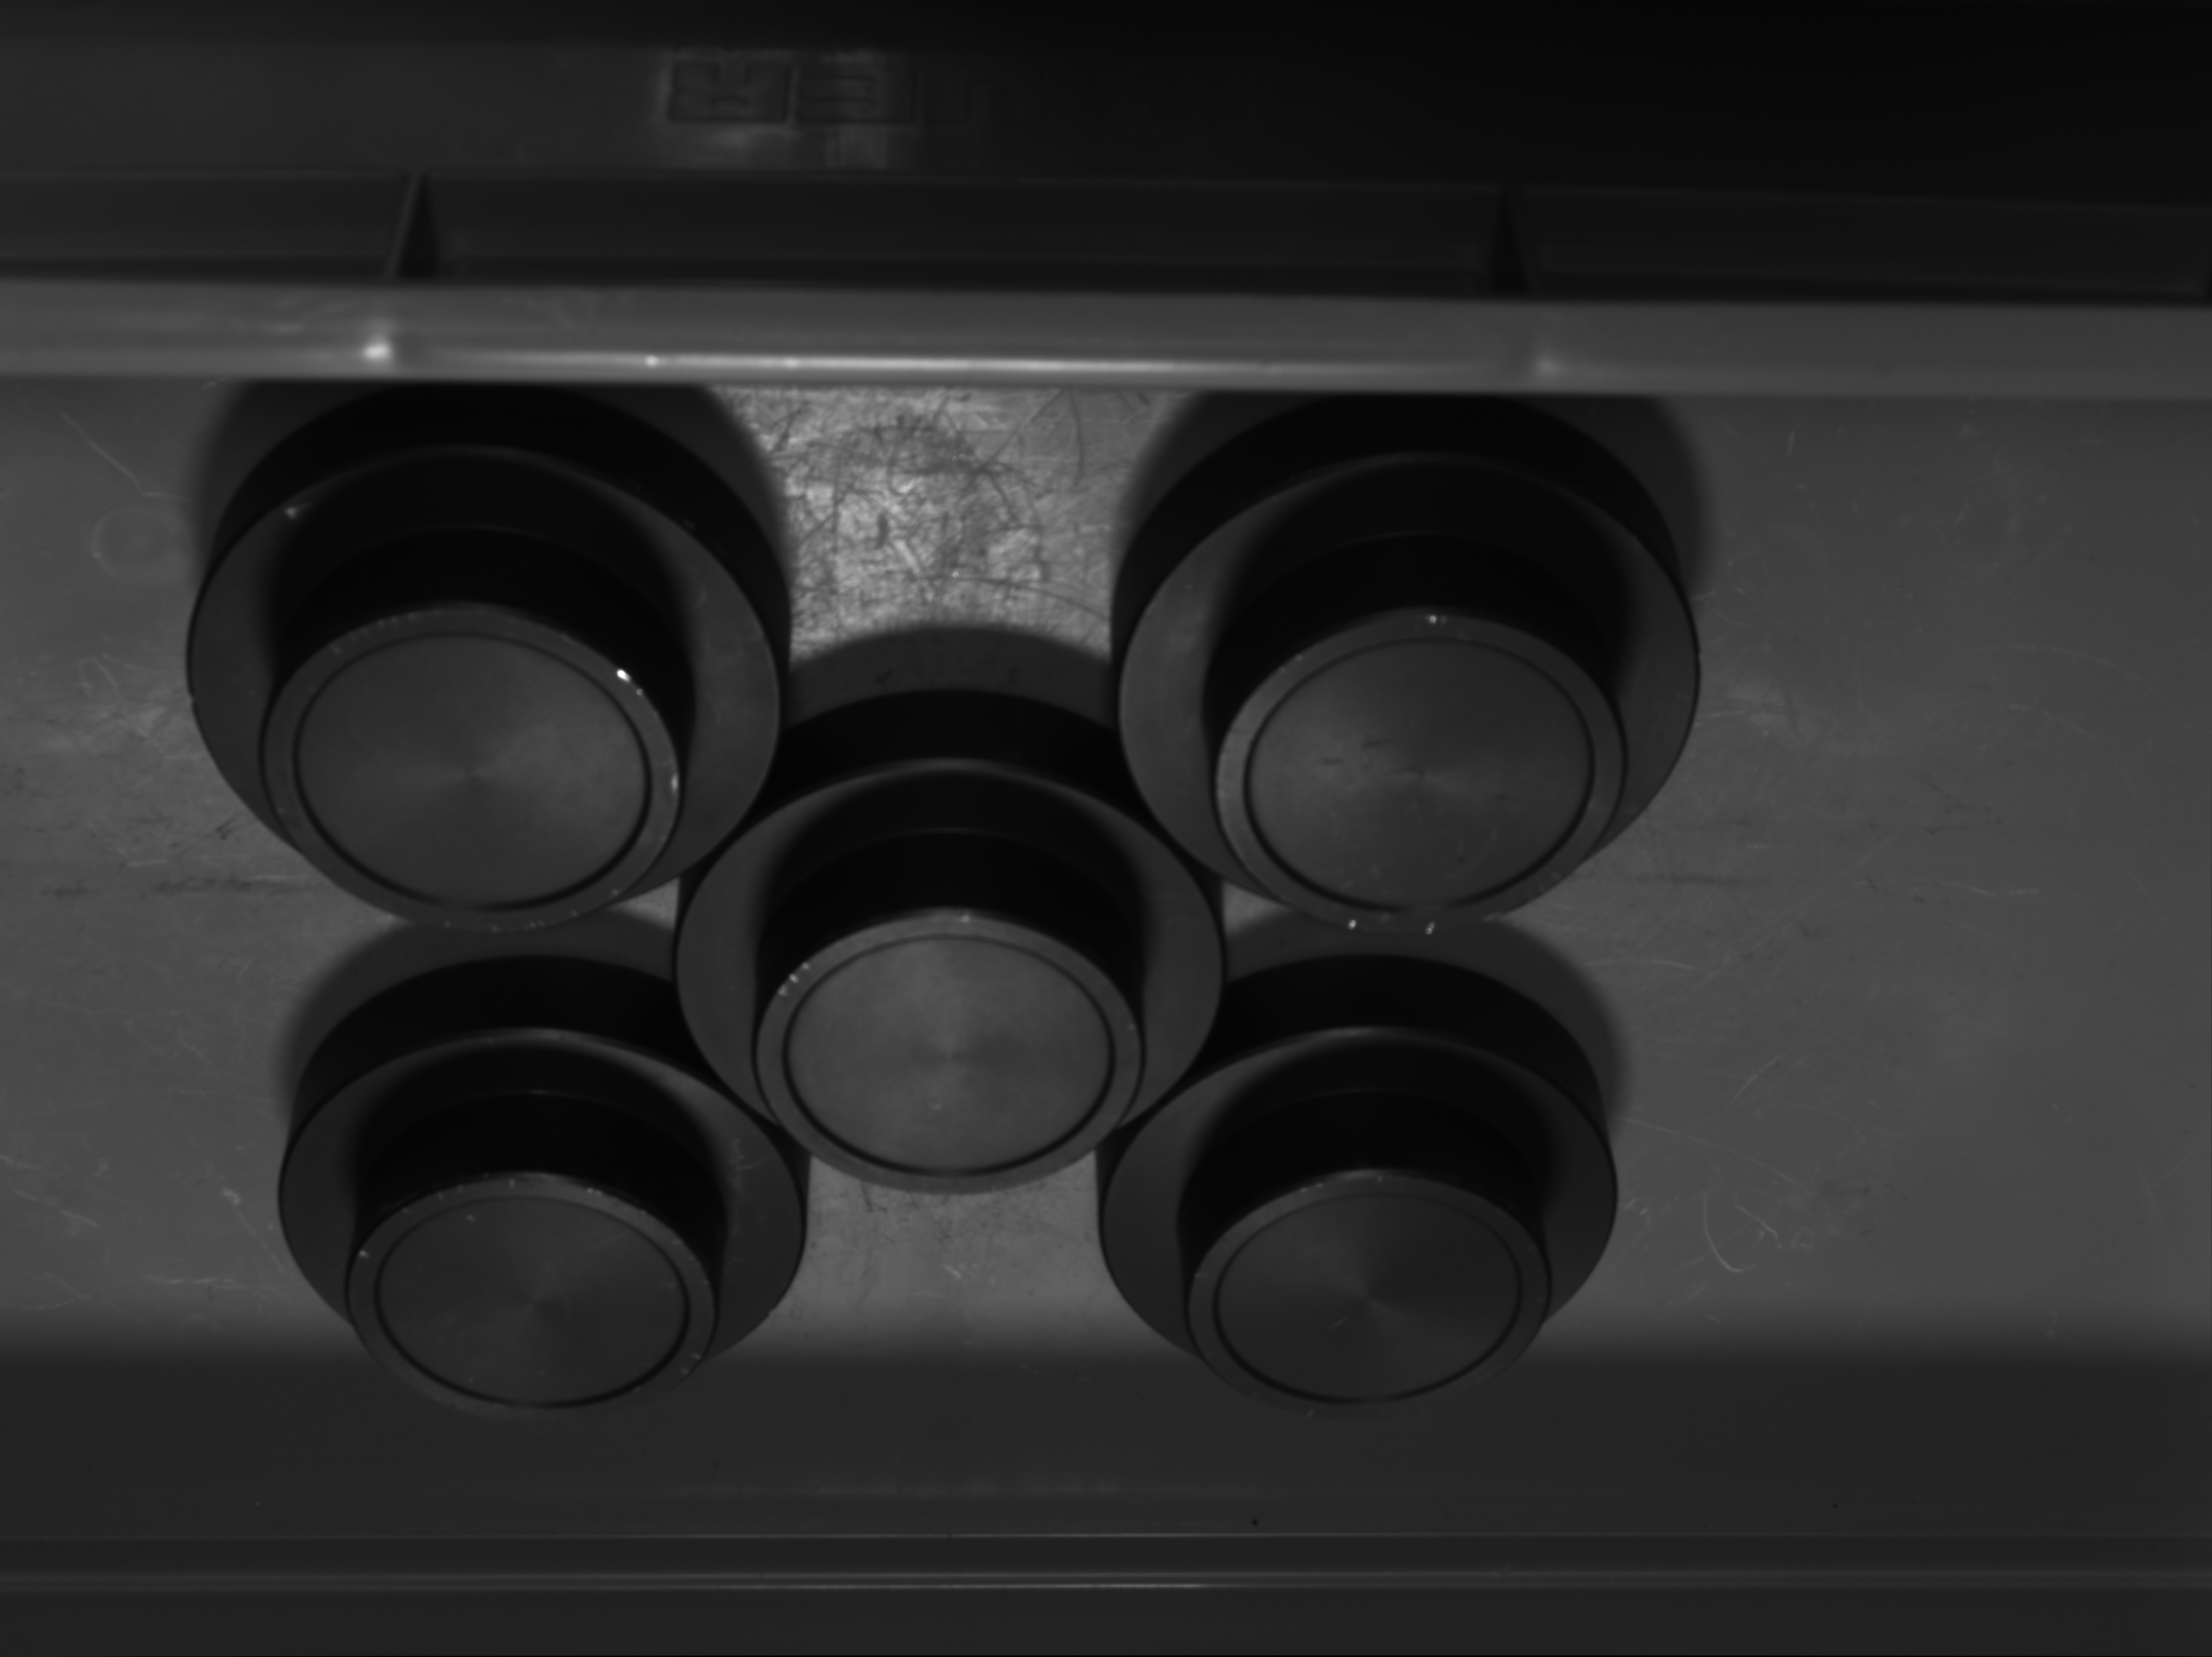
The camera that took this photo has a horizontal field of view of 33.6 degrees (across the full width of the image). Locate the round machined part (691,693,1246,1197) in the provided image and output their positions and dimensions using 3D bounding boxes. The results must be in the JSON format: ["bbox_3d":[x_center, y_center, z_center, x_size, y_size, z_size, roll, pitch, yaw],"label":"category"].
[{"bbox_3d":[-0.024,0.027,0.647,0.098,0.042,0.098,-1,130,-1],"label":"round machined part"}]

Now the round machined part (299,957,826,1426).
[{"bbox_3d":[-0.102,0.074,0.685,0.098,0.042,0.098,-1,130,-1],"label":"round machined part"}]

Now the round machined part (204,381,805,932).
[{"bbox_3d":[-0.099,-0.022,0.605,0.098,0.042,0.098,-1,130,-1],"label":"round machined part"}]

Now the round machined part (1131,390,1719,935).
[{"bbox_3d":[0.053,-0.021,0.610,0.098,0.042,0.098,-1,130,-1],"label":"round machined part"}]

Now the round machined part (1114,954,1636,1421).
[{"bbox_3d":[0.051,0.074,0.689,0.098,0.042,0.098,-1,130,-1],"label":"round machined part"}]
